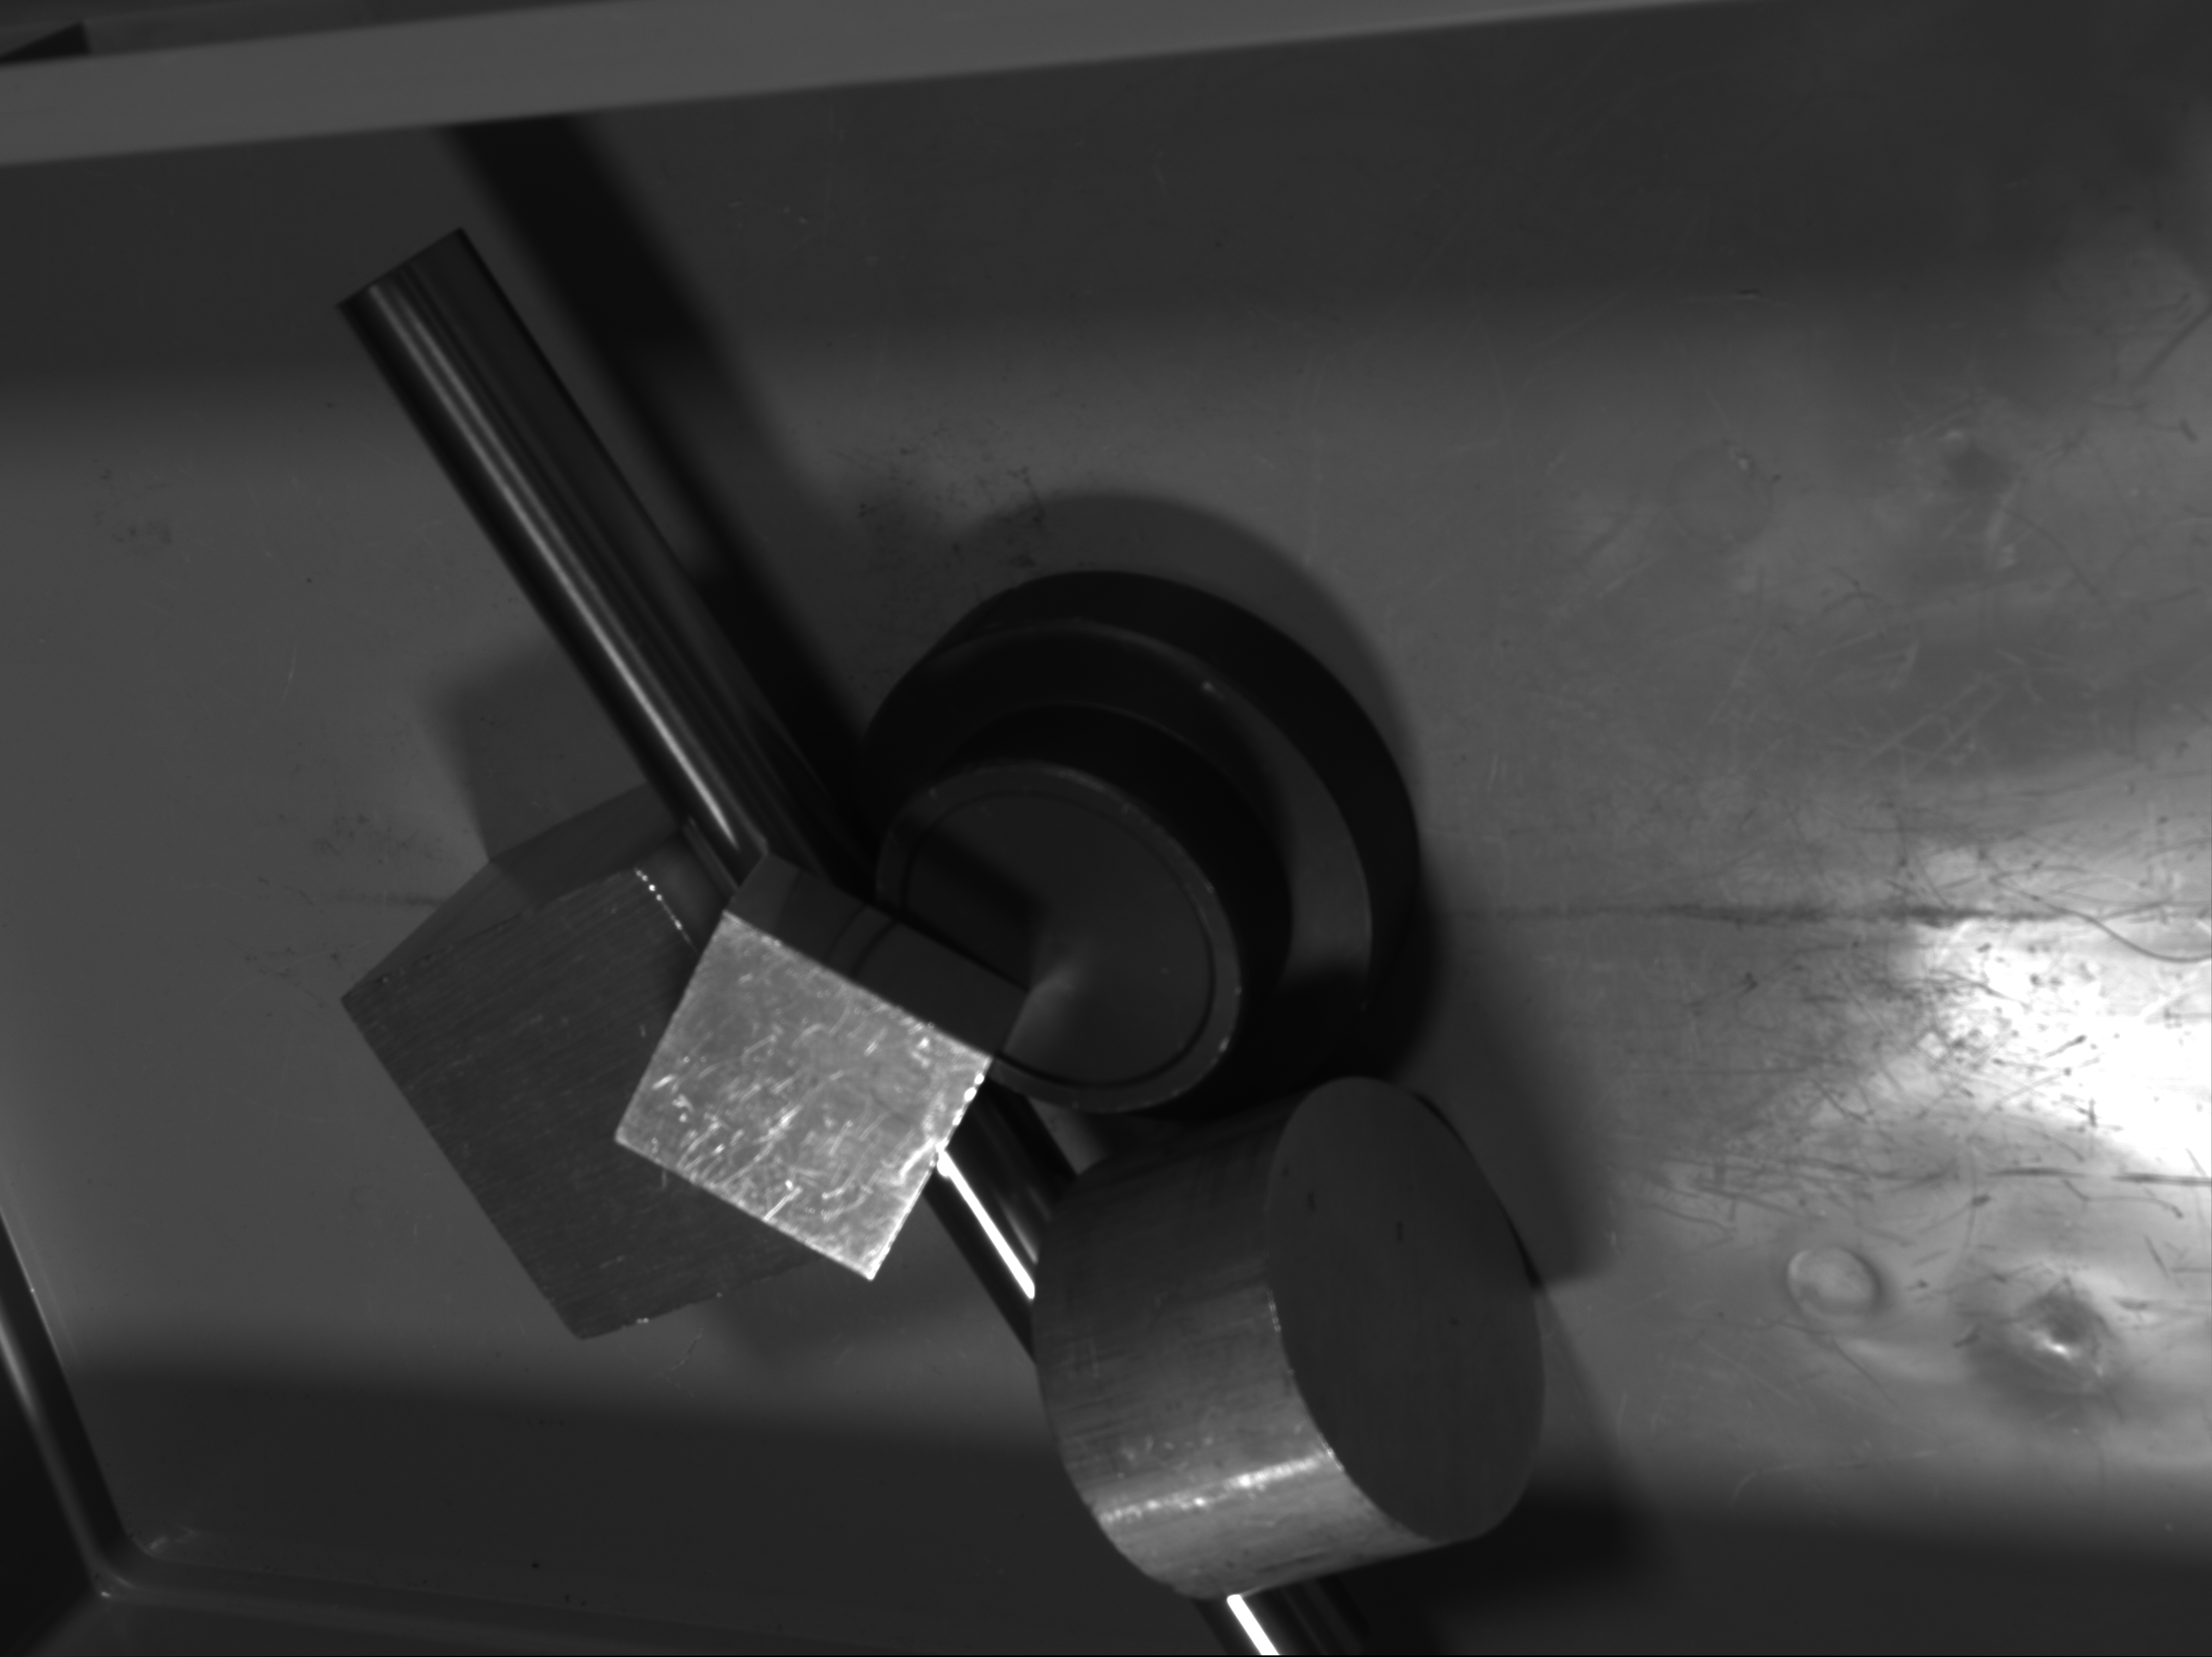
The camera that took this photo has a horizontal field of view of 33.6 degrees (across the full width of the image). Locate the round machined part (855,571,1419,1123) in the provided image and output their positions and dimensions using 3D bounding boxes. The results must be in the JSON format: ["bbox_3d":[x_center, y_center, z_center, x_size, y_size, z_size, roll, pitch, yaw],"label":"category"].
[{"bbox_3d":[0.000,0.009,0.623,0.098,0.042,0.098,12,123,20],"label":"round machined part"}]

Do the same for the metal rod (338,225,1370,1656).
[{"bbox_3d":[-0.039,0.030,0.641,0.025,0.025,0.300,-22,107,35],"label":"metal rod"}]

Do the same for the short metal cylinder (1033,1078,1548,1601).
[{"bbox_3d":[0.033,0.088,0.632,0.050,0.080,0.080,-22,107,35],"label":"short metal cylinder"}]

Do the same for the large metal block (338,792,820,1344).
[{"bbox_3d":[-0.079,0.039,0.674,0.080,0.050,0.080,-22,107,35],"label":"large metal block"}]

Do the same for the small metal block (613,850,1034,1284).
[{"bbox_3d":[-0.048,0.040,0.616,0.050,0.025,0.050,29,116,0],"label":"small metal block"}]
